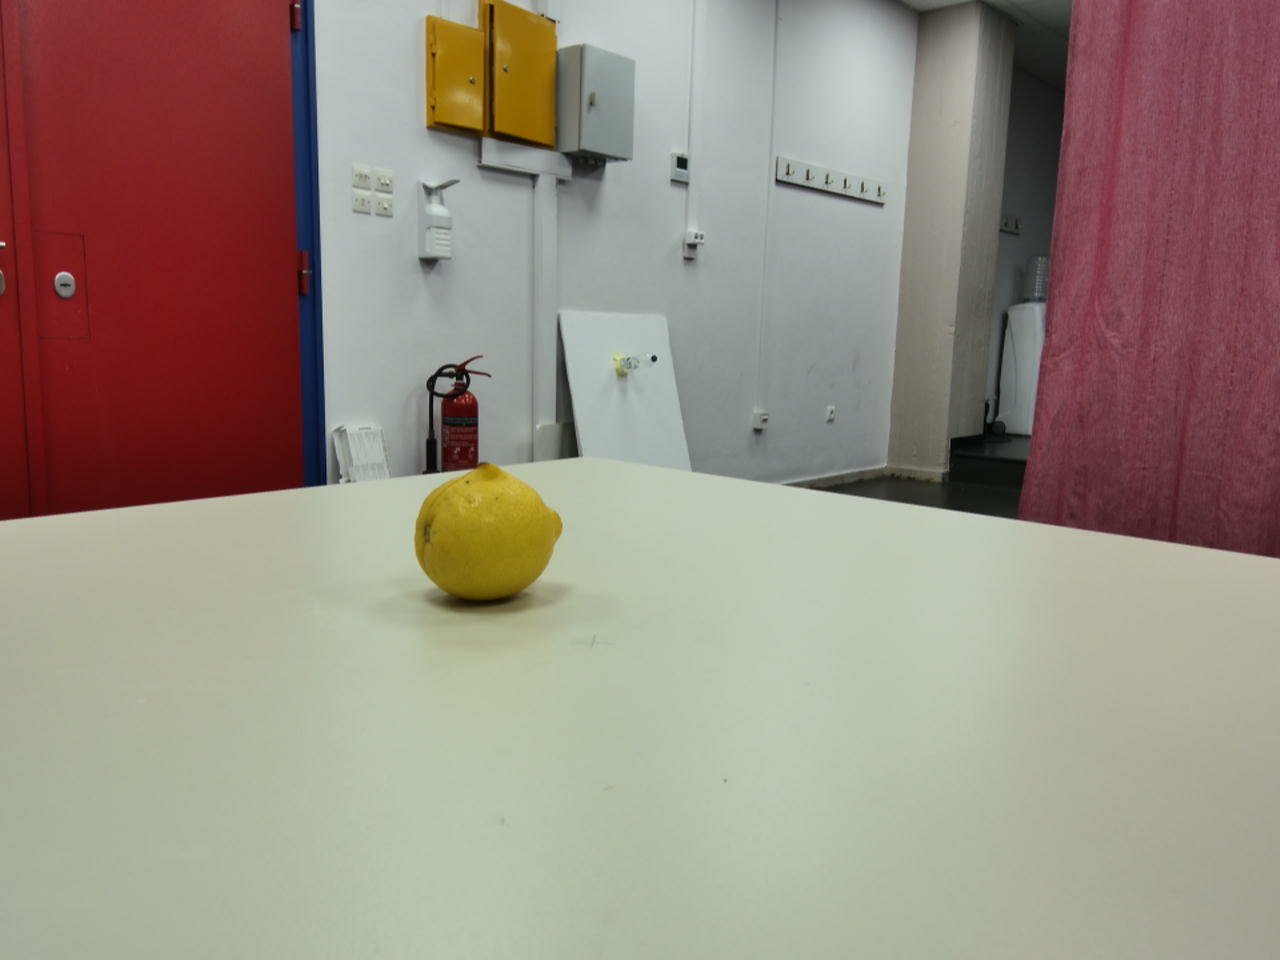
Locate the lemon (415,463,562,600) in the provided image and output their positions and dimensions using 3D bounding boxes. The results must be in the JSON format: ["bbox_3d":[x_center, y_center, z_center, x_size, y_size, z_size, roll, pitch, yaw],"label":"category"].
[{"bbox_3d":[-0.081,0.026,0.519,0.071,0.071,0.070,1,7,8],"label":"lemon"}]
